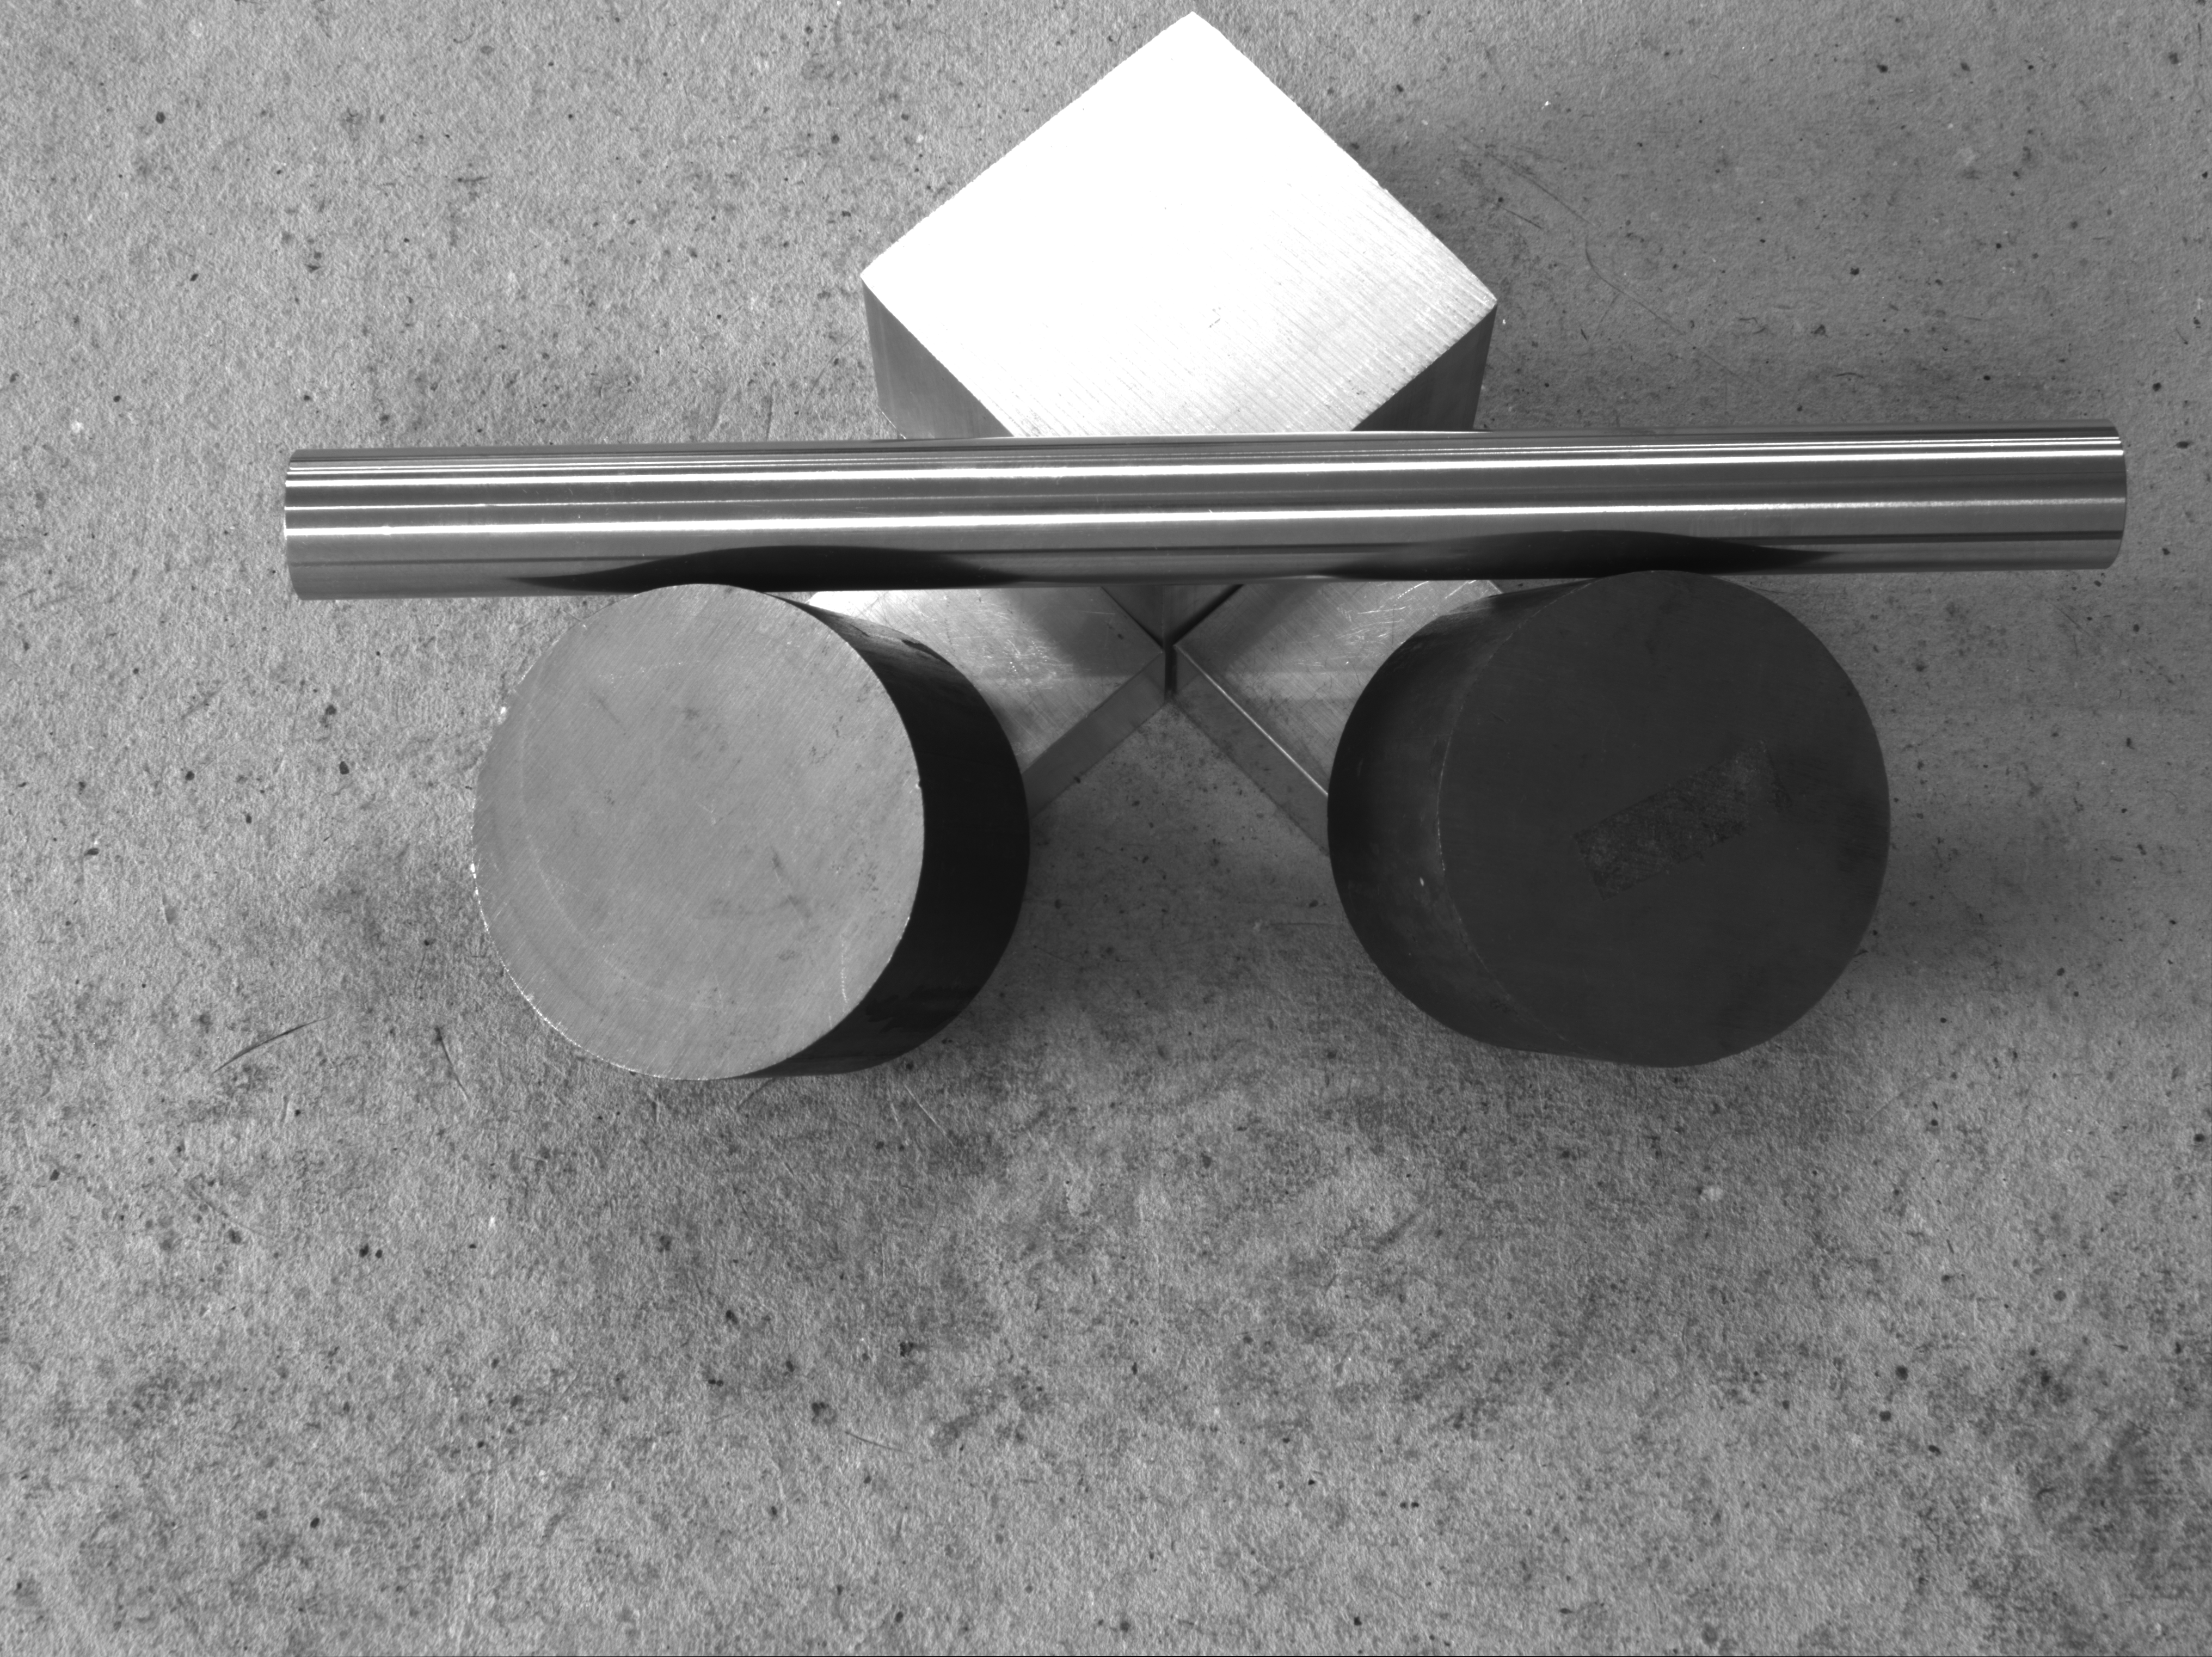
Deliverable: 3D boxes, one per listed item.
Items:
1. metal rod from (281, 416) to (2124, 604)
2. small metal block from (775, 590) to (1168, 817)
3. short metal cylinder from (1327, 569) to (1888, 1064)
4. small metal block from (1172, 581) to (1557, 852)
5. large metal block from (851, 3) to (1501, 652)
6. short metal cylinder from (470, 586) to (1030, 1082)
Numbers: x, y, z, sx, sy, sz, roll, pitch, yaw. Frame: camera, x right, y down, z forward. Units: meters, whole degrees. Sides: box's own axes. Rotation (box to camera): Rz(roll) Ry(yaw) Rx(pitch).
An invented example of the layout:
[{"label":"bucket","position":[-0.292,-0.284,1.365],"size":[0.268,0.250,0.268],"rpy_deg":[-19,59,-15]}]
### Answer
[{"label":"metal rod","position":[0.016,-0.053,0.610],"size":[0.300,0.025,0.025],"rpy_deg":[-1,70,0]},{"label":"small metal block","position":[-0.025,-0.028,0.656],"size":[0.050,0.025,0.050],"rpy_deg":[-41,75,-15]},{"label":"short metal cylinder","position":[0.084,-0.001,0.618],"size":[0.080,0.050,0.080],"rpy_deg":[0,89,-17]},{"label":"small metal block","position":[0.047,-0.027,0.655],"size":[0.050,0.025,0.050],"rpy_deg":[-41,75,-14]},{"label":"large metal block","position":[0.012,-0.086,0.662],"size":[0.080,0.050,0.080],"rpy_deg":[-40,75,-13]},{"label":"short metal cylinder","position":[-0.059,0.002,0.616],"size":[0.080,0.050,0.080],"rpy_deg":[-1,87,18]}]
